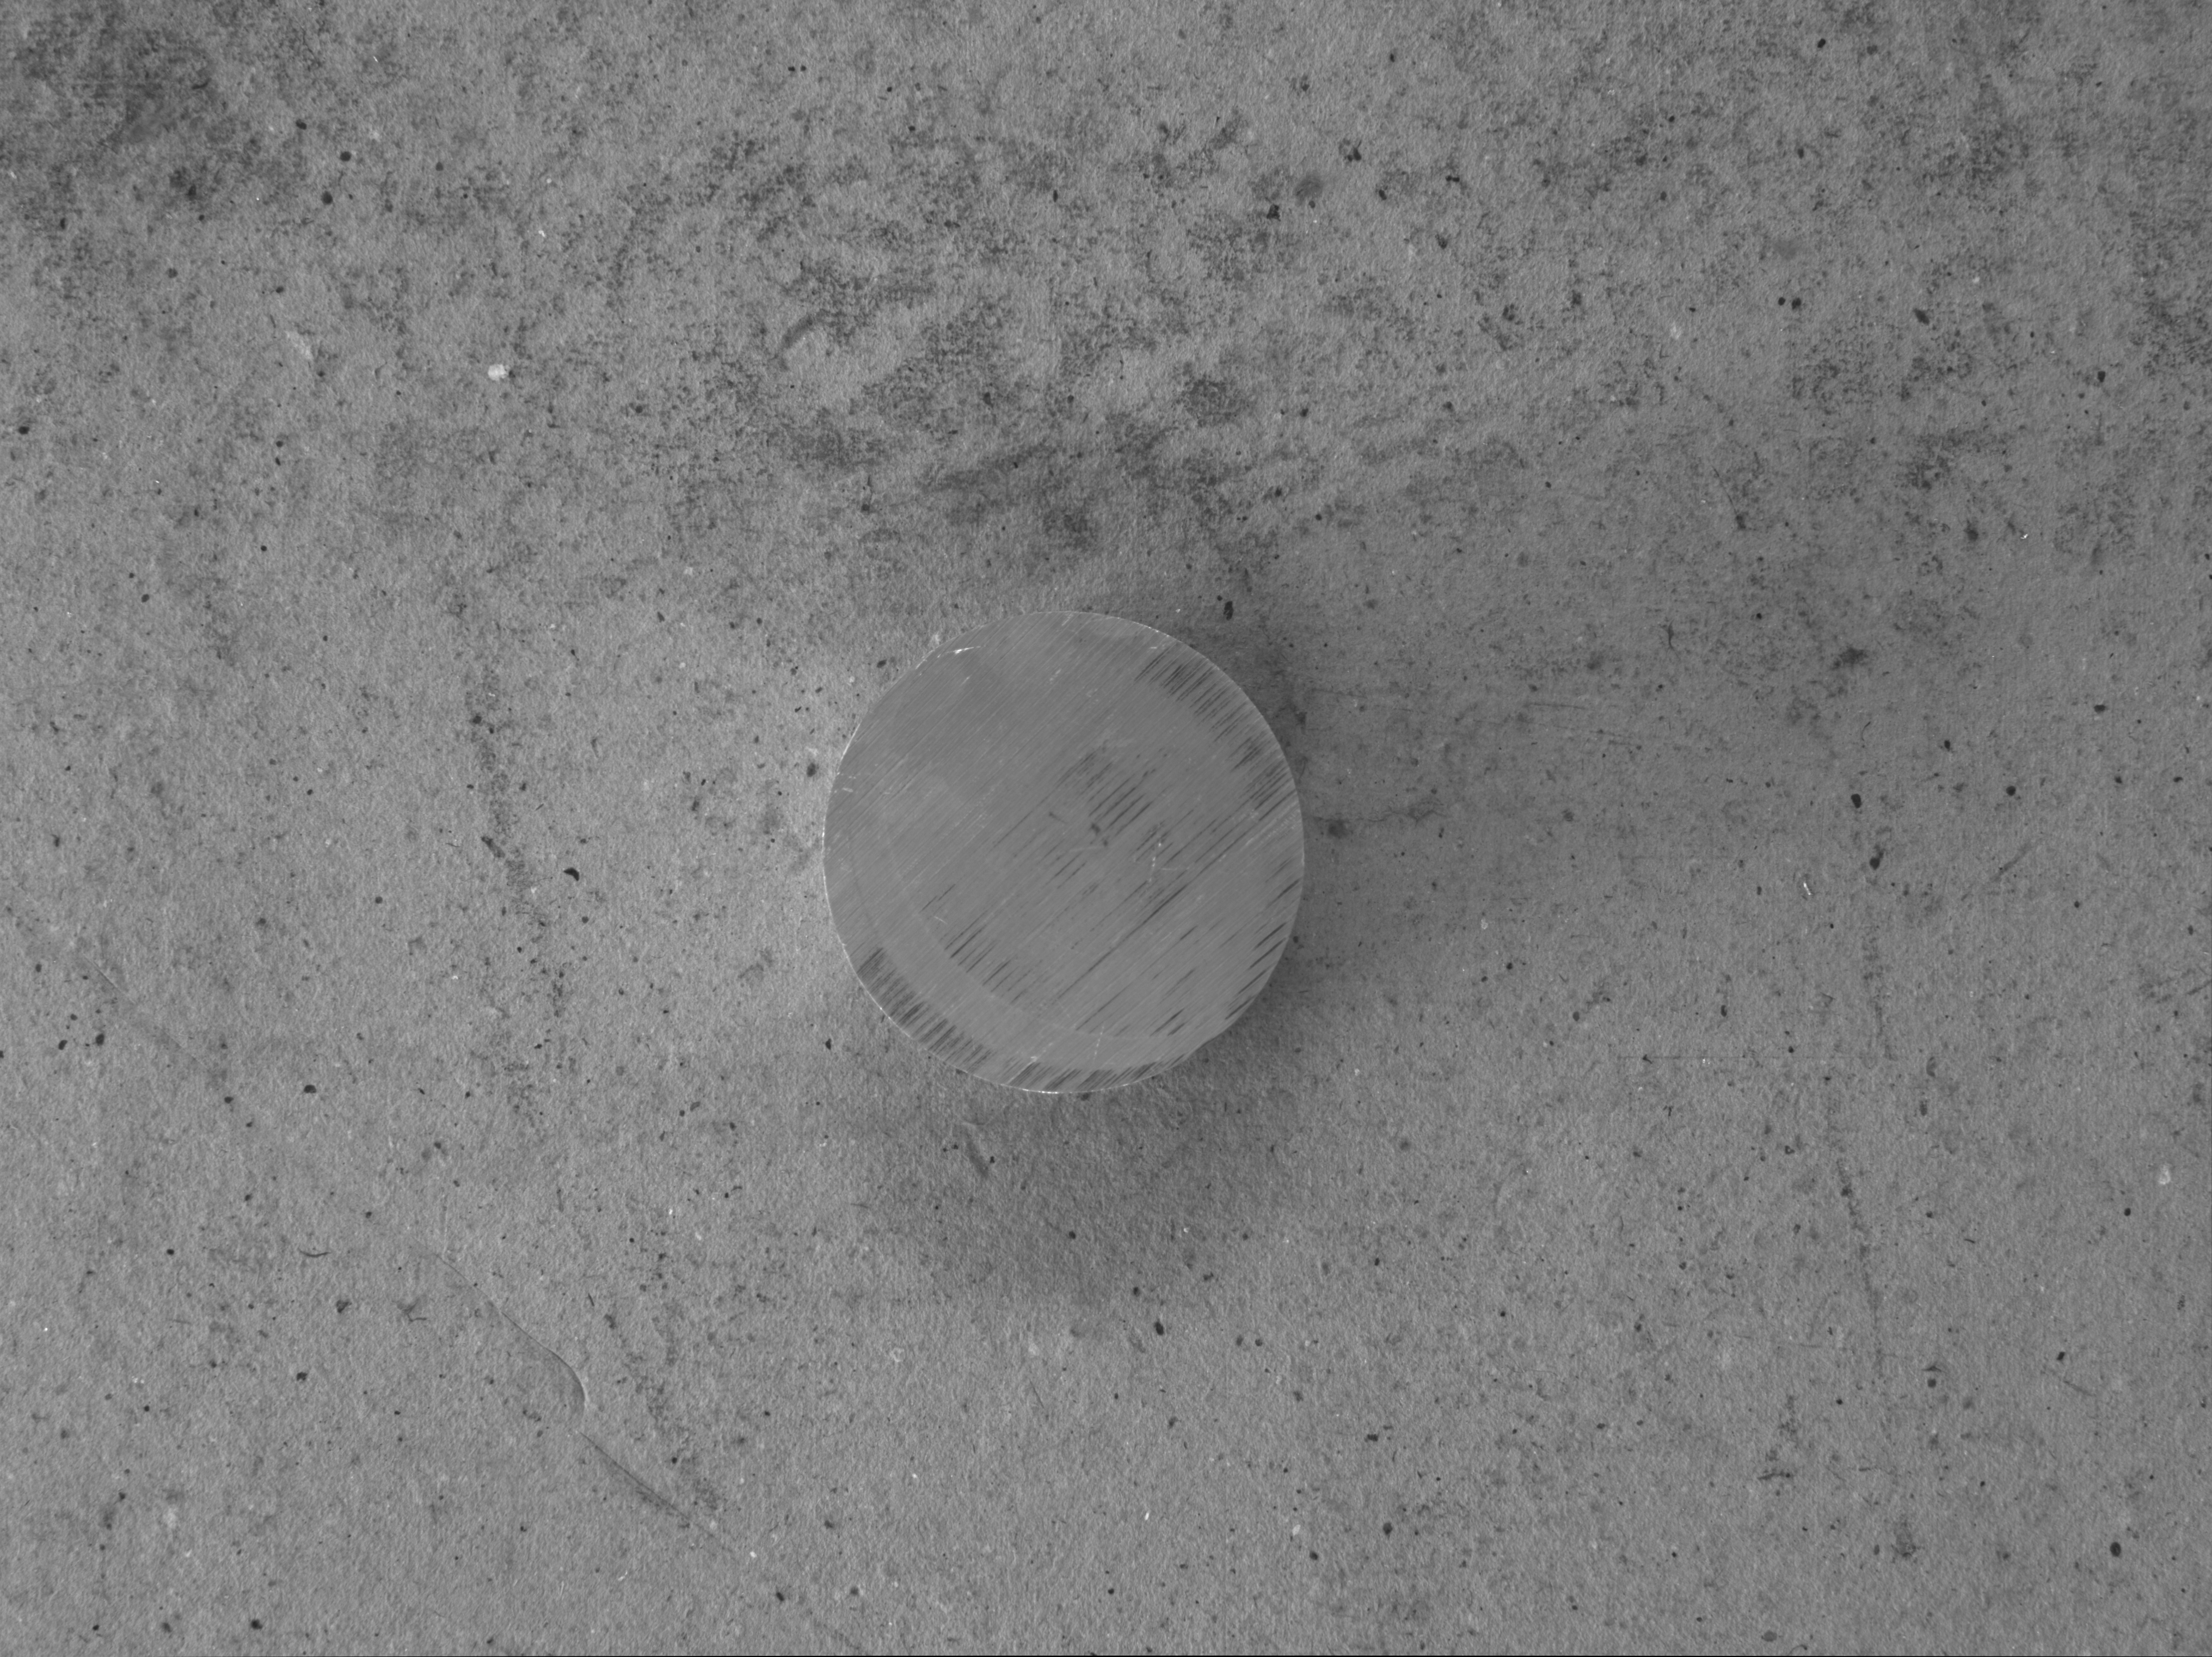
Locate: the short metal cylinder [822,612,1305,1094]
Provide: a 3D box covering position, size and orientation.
[{"bbox_3d":[-0.007,0.004,0.634,0.080,0.050,0.080,0,90,-1],"label":"short metal cylinder"}]
